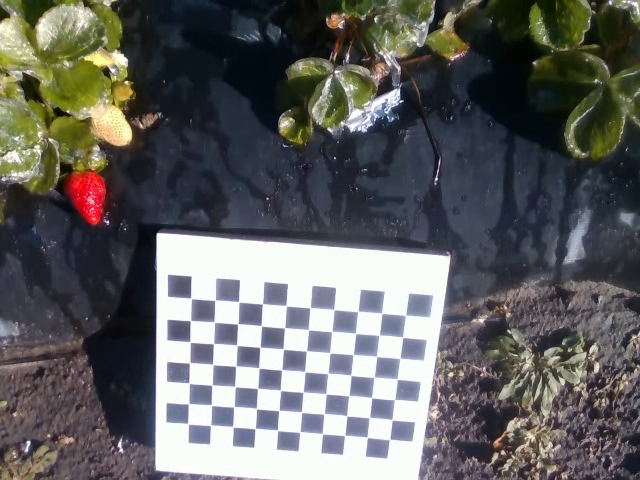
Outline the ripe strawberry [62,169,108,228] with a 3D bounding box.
[{"bbox_3d":[-0.223,-0.036,0.592,0.042,0.052,0.040,-13,9,3],"label":"ripe strawberry"}]
